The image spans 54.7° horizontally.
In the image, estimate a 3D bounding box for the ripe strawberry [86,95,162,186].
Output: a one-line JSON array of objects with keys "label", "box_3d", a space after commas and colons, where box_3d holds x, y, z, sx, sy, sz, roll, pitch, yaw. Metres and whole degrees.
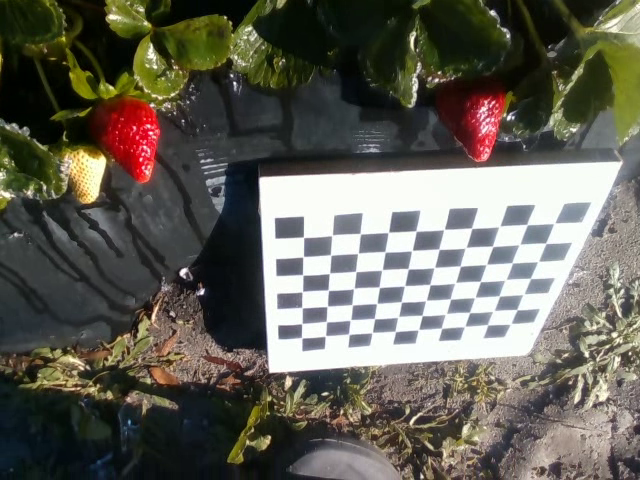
[{"label": "ripe strawberry", "box_3d": [-0.122, -0.062, 0.407, 0.042, 0.061, 0.046, -13, 5, 5]}]

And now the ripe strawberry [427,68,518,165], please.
[{"label": "ripe strawberry", "box_3d": [0.105, -0.079, 0.415, 0.048, 0.061, 0.044, -8, 15, -1]}]
